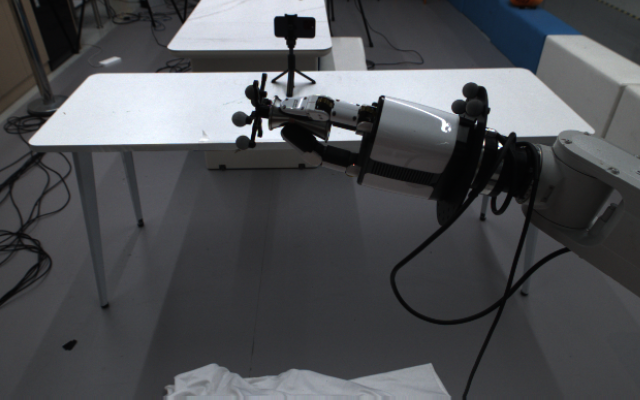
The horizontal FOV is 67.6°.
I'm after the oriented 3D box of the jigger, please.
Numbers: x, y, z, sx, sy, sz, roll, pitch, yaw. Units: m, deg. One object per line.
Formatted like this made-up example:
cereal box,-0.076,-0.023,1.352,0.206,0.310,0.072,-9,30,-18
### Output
jigger,-0.014,-0.097,0.555,0.071,0.043,0.043,11,35,3
